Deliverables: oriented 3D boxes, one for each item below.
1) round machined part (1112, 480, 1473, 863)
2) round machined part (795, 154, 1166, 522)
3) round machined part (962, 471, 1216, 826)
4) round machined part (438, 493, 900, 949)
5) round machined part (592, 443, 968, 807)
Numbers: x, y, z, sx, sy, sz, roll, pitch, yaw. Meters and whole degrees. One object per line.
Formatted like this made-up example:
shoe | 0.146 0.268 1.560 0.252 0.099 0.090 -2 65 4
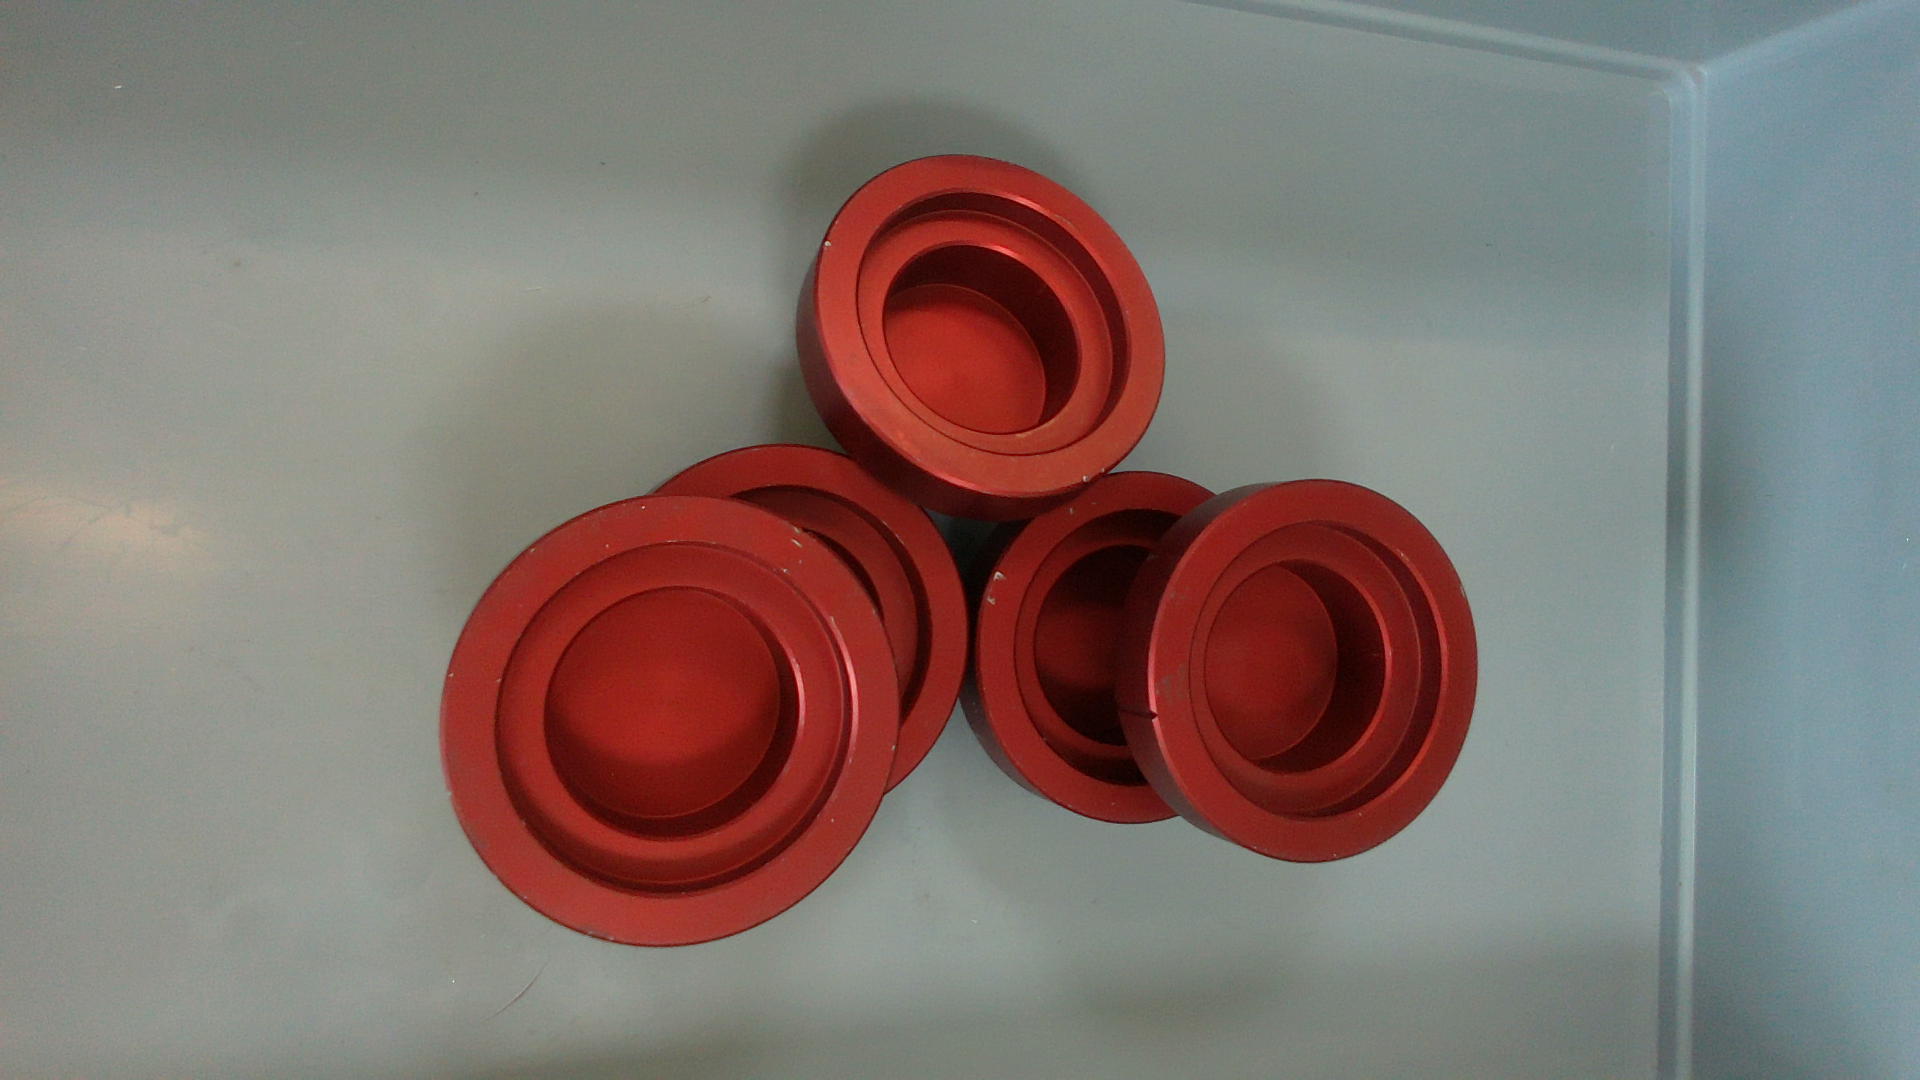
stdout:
round machined part | 0.085 0.033 0.370 0.098 0.042 0.098 0 90 -20
round machined part | 0.003 -0.051 0.374 0.098 0.042 0.098 7 70 -19
round machined part | 0.043 0.030 0.399 0.098 0.042 0.098 0 90 -20
round machined part | -0.067 0.039 0.315 0.098 0.042 0.098 0 90 -20
round machined part | -0.051 0.025 0.365 0.098 0.042 0.098 0 90 -20
